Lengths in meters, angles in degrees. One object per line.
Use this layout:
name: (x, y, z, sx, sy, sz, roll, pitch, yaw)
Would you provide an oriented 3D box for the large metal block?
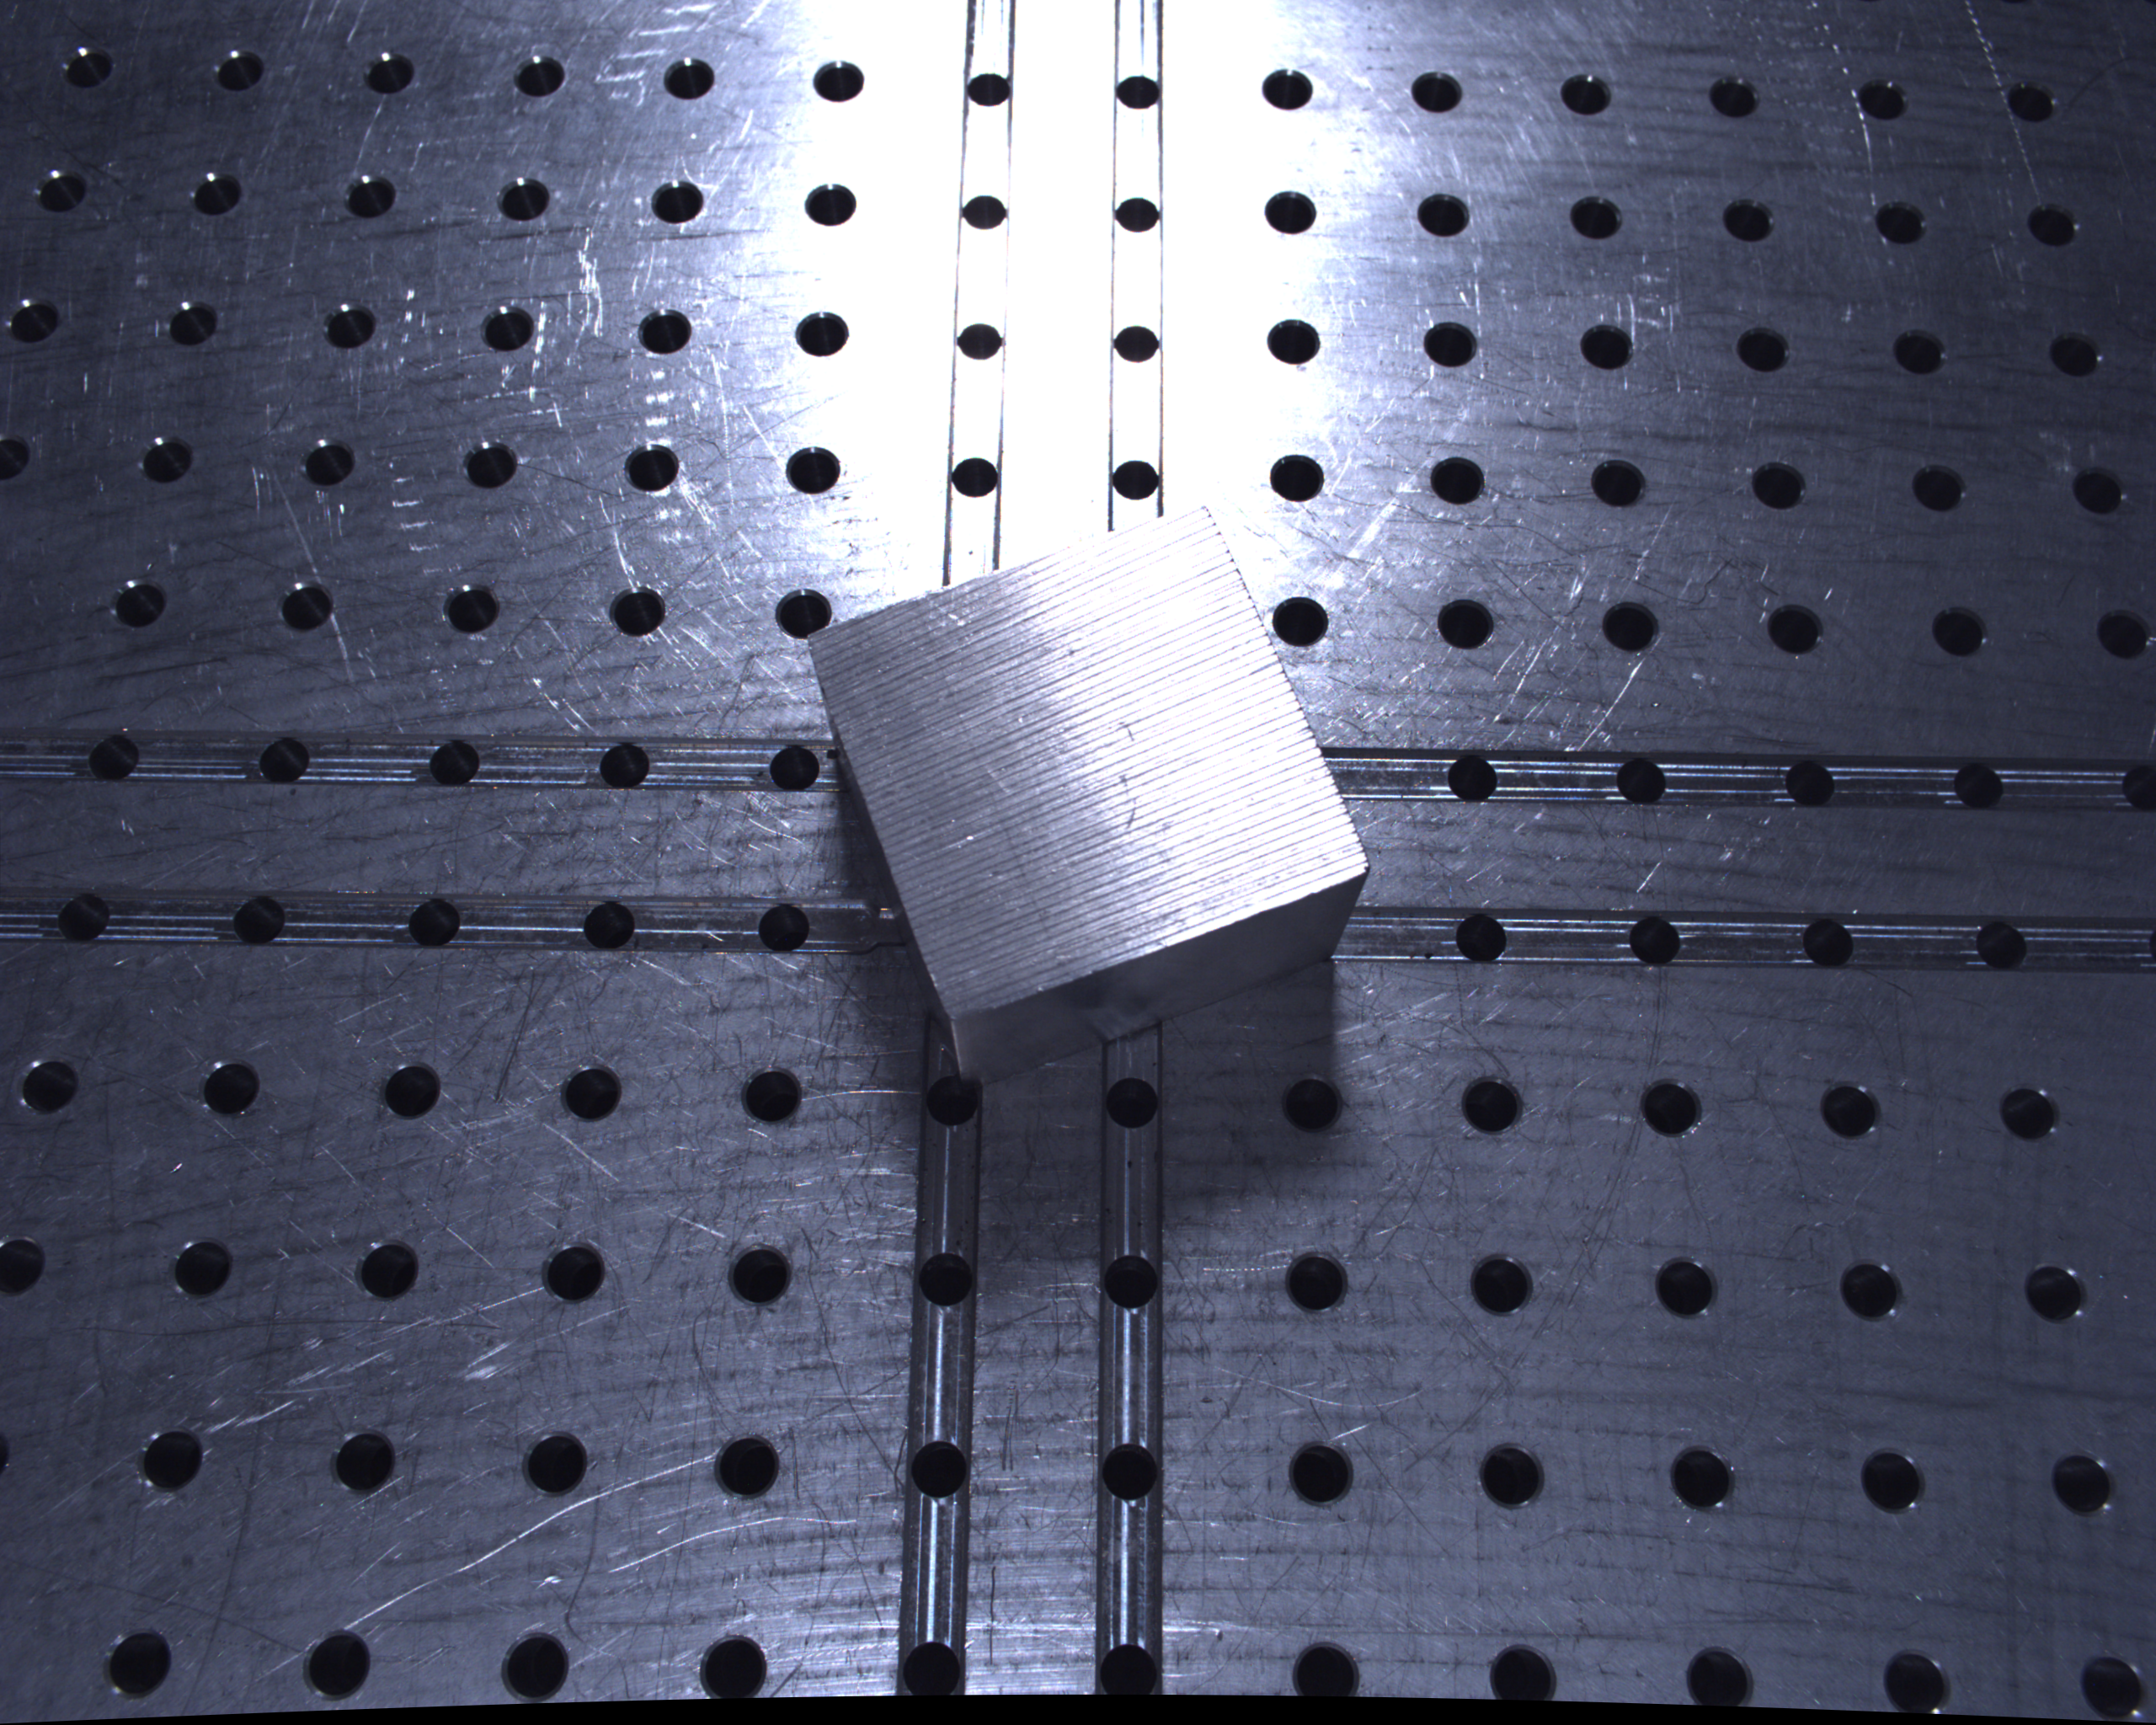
large metal block: (0.002, -0.011, 0.400, 0.081, 0.050, 0.080, -20, 71, -7)
